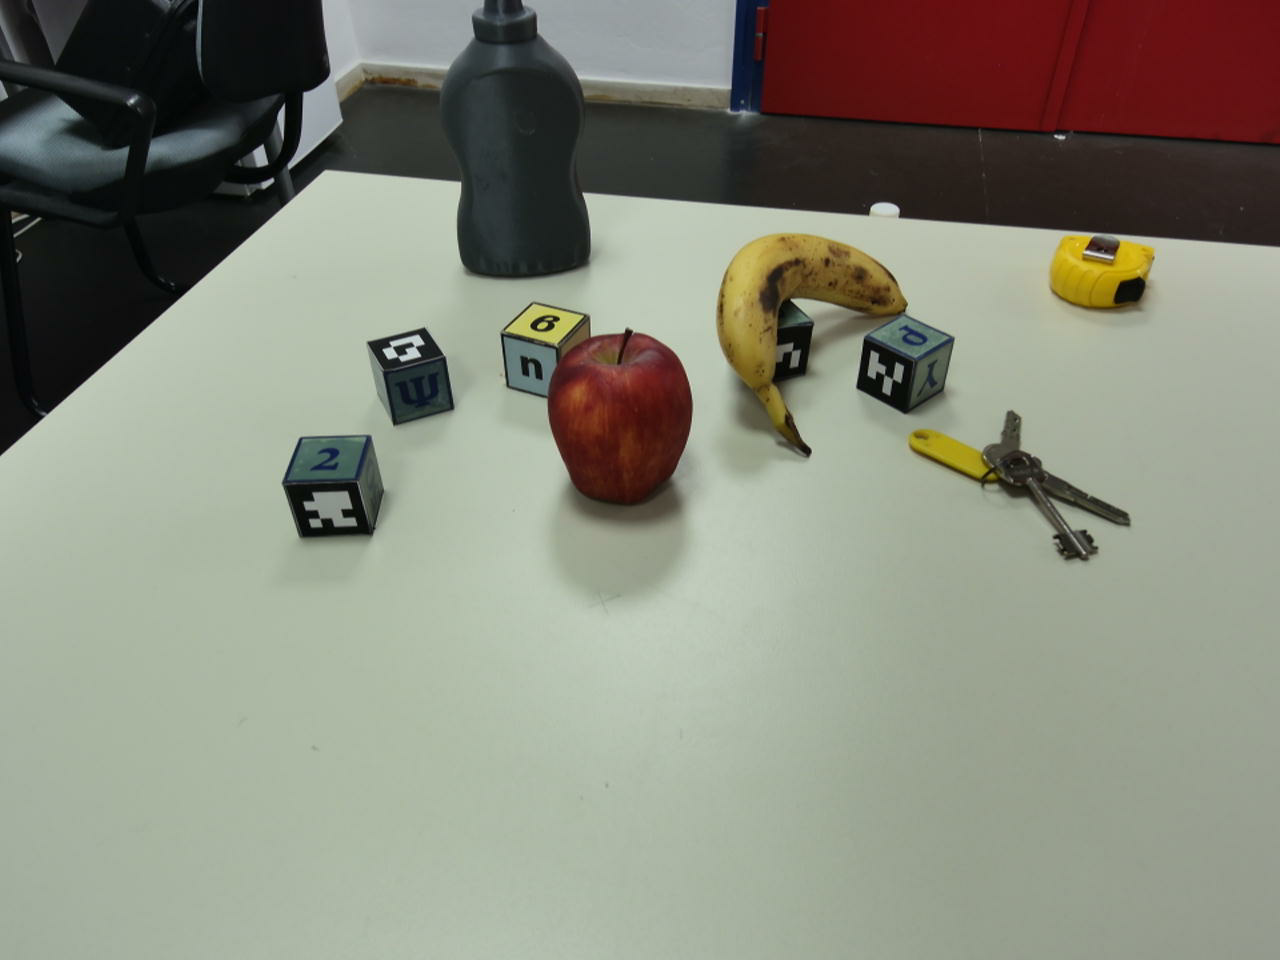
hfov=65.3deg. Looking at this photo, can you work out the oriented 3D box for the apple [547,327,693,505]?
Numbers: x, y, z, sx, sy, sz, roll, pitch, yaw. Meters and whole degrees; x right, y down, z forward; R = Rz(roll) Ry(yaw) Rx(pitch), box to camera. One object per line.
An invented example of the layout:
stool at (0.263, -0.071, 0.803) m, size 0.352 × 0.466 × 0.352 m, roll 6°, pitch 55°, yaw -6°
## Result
apple at (-0.011, -0.039, 0.519) m, size 0.083 × 0.090 × 0.083 m, roll -1°, pitch 39°, yaw 1°
